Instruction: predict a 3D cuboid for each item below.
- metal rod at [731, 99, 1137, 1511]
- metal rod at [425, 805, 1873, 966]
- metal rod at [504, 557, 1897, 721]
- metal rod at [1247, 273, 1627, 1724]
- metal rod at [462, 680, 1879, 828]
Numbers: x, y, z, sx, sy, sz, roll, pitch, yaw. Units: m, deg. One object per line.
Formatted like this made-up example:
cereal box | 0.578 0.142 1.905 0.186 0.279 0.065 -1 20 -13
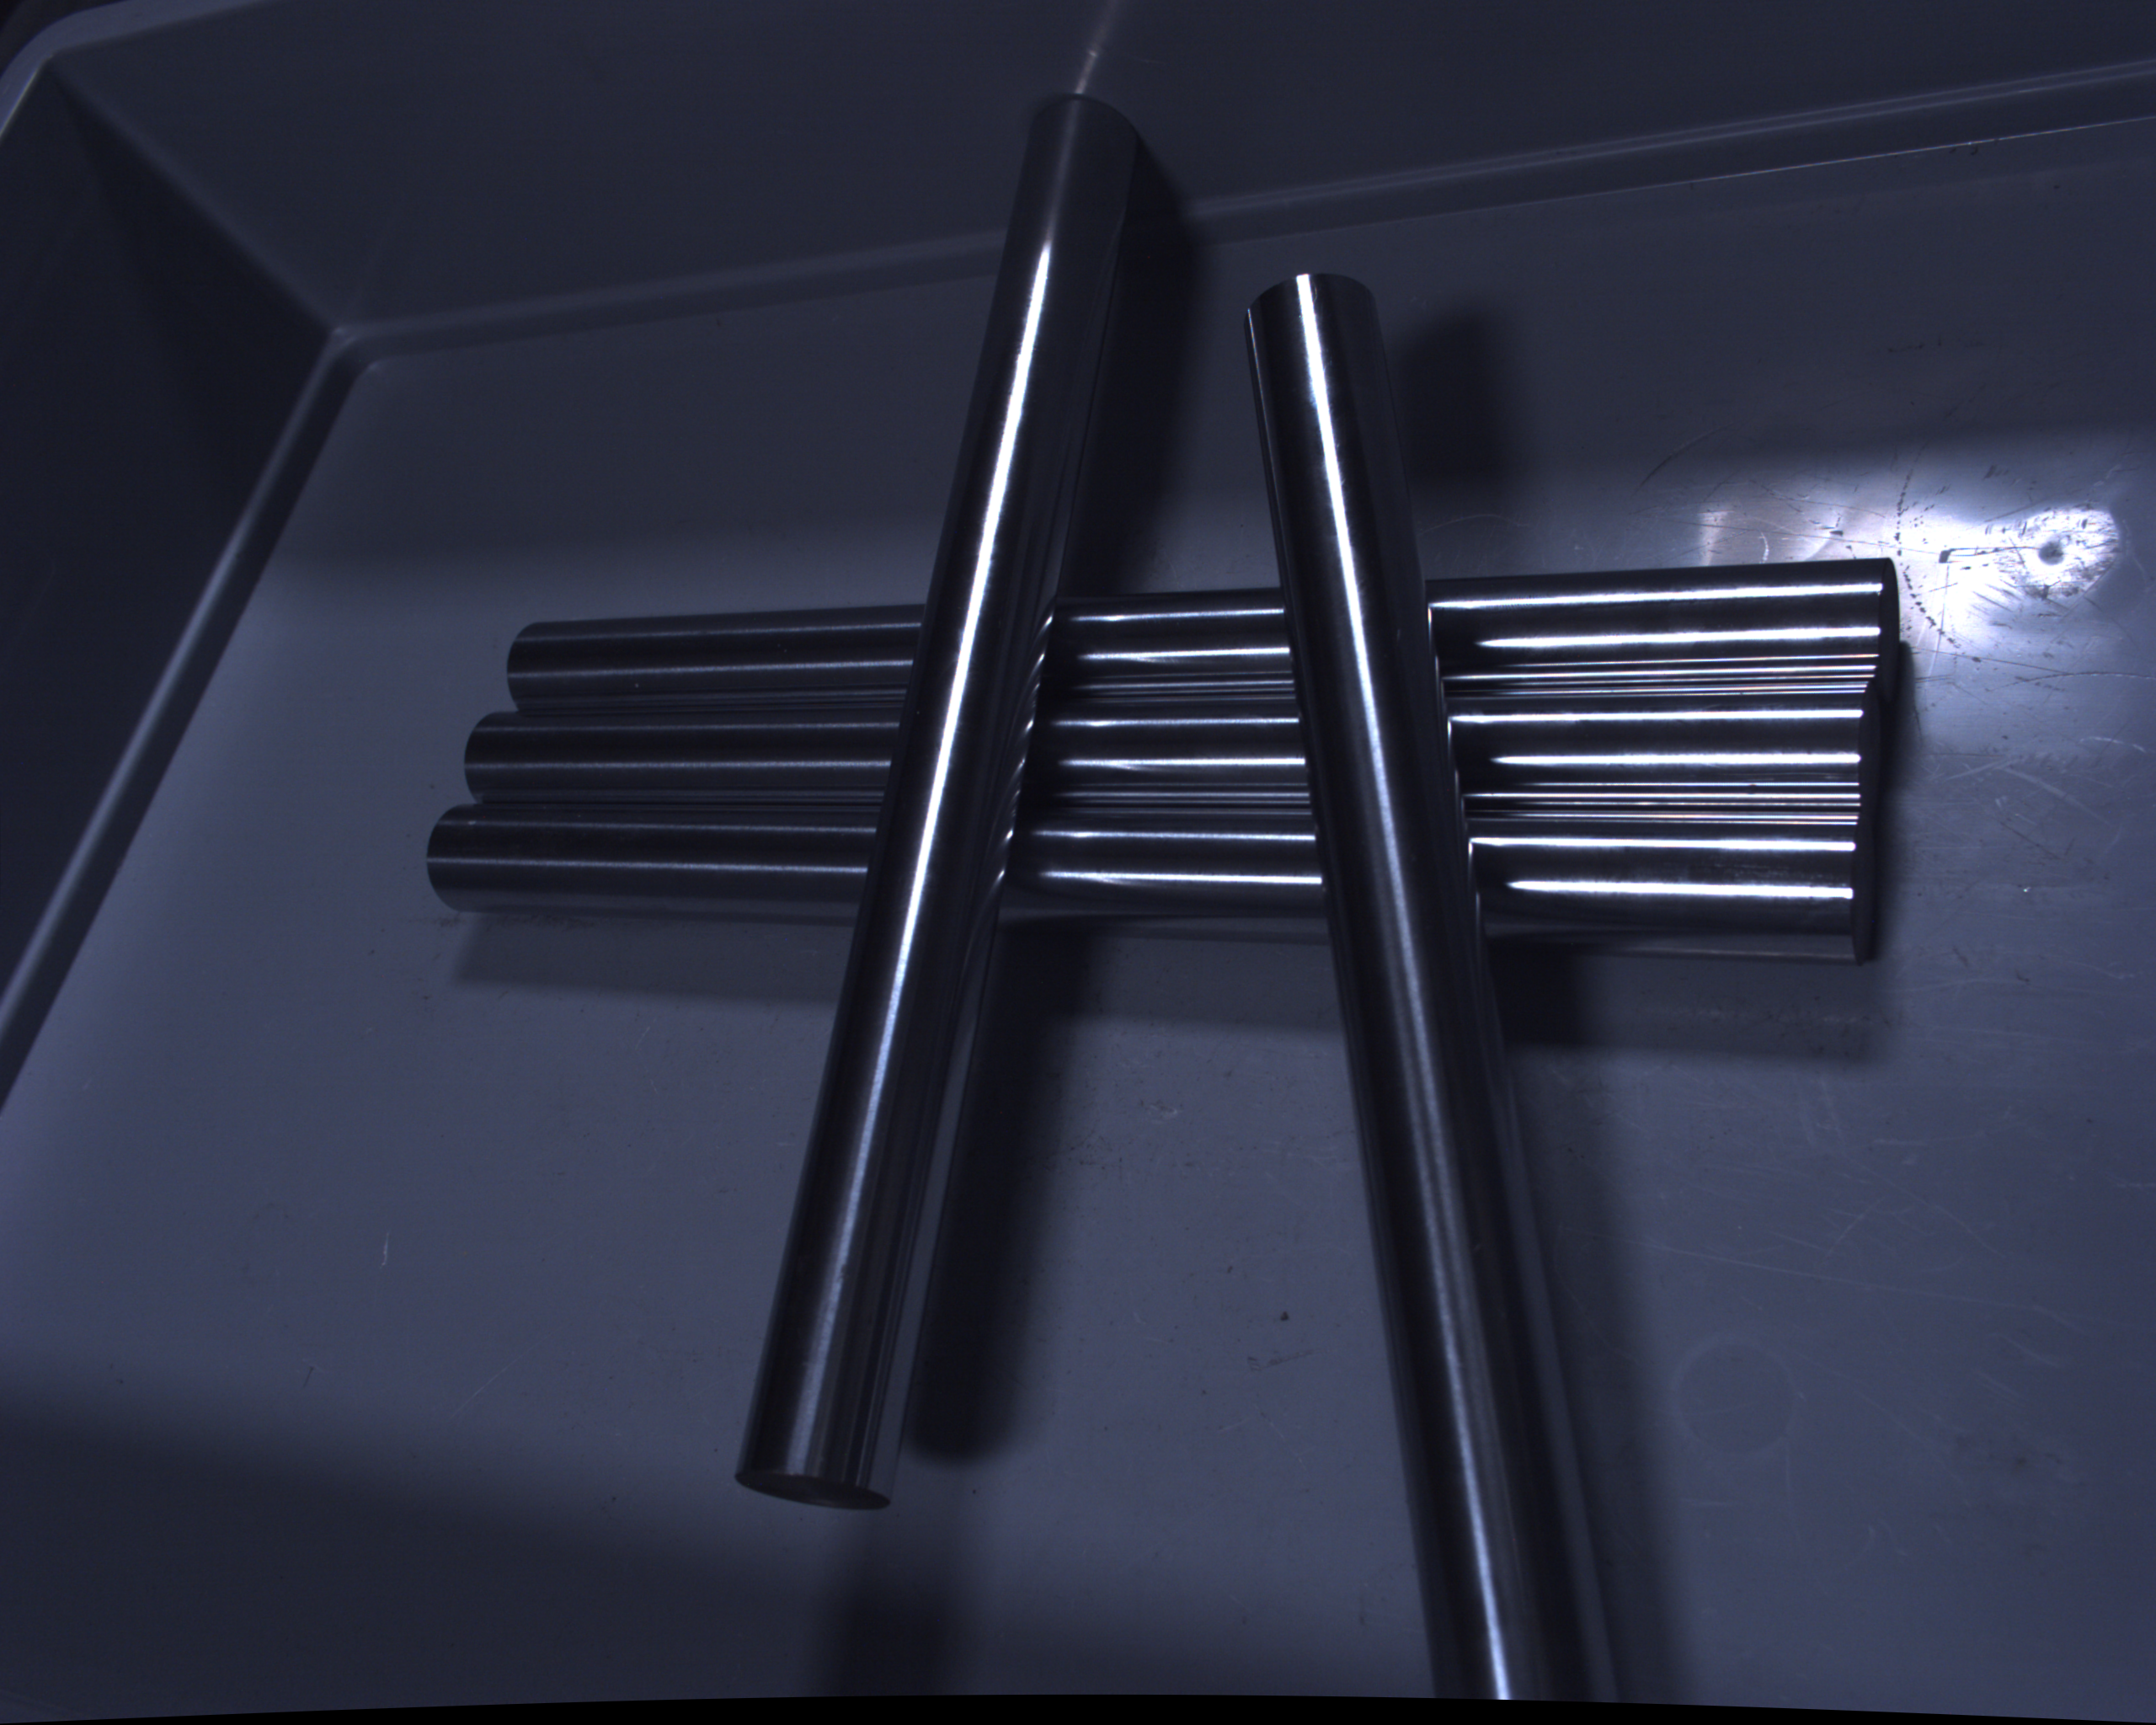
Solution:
metal rod | -0.021 -0.031 0.400 0.025 0.025 0.299 -5 59 25
metal rod | -0.007 0.002 0.405 0.300 0.025 0.025 1 62 28
metal rod | 0.005 -0.042 0.426 0.300 0.025 0.025 1 62 28
metal rod | 0.055 0.031 0.329 0.025 0.025 0.299 -15 62 20
metal rod | -0.002 -0.020 0.416 0.300 0.025 0.025 1 62 28
